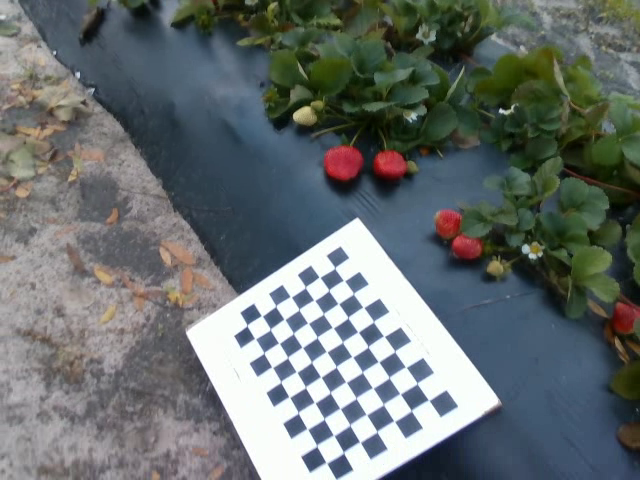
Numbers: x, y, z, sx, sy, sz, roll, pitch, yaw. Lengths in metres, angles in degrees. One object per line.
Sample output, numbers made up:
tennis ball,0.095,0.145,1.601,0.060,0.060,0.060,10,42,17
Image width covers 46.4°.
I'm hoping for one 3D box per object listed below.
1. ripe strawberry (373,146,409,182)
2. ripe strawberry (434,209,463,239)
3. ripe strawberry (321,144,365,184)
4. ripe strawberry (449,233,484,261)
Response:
ripe strawberry,0.096,-0.109,1.027,0.050,0.051,0.060,-19,12,18
ripe strawberry,0.165,-0.028,0.963,0.053,0.047,0.038,33,-5,-3
ripe strawberry,0.030,-0.110,1.022,0.058,0.065,0.044,-13,-45,21
ripe strawberry,0.179,-0.002,0.931,0.049,0.041,0.044,5,36,-49
